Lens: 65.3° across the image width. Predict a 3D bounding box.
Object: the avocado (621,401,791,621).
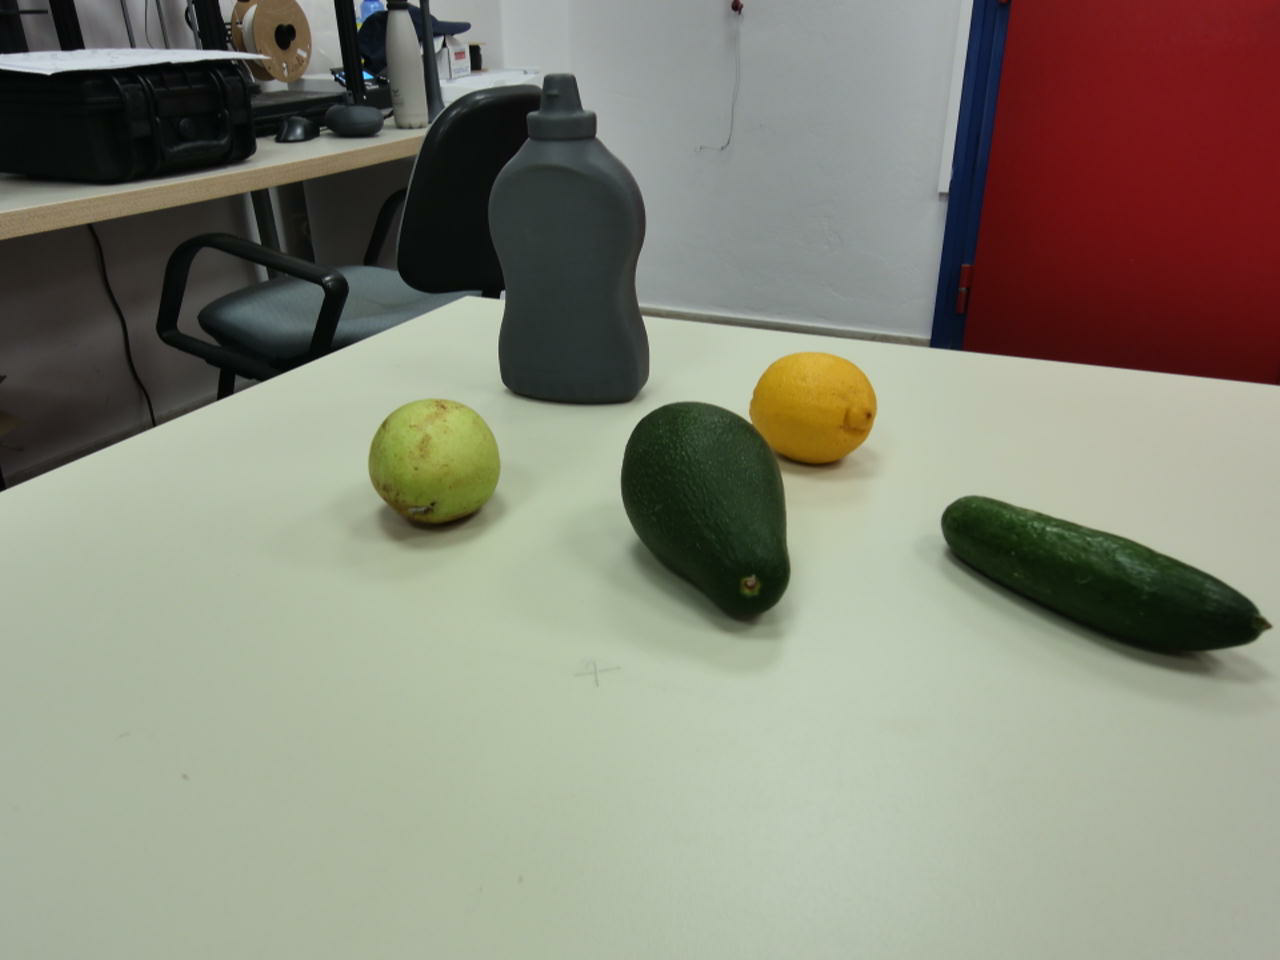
[{"bbox_3d":[0.027,0.009,0.428,0.072,0.071,0.109,2,23,3],"label":"avocado"}]
